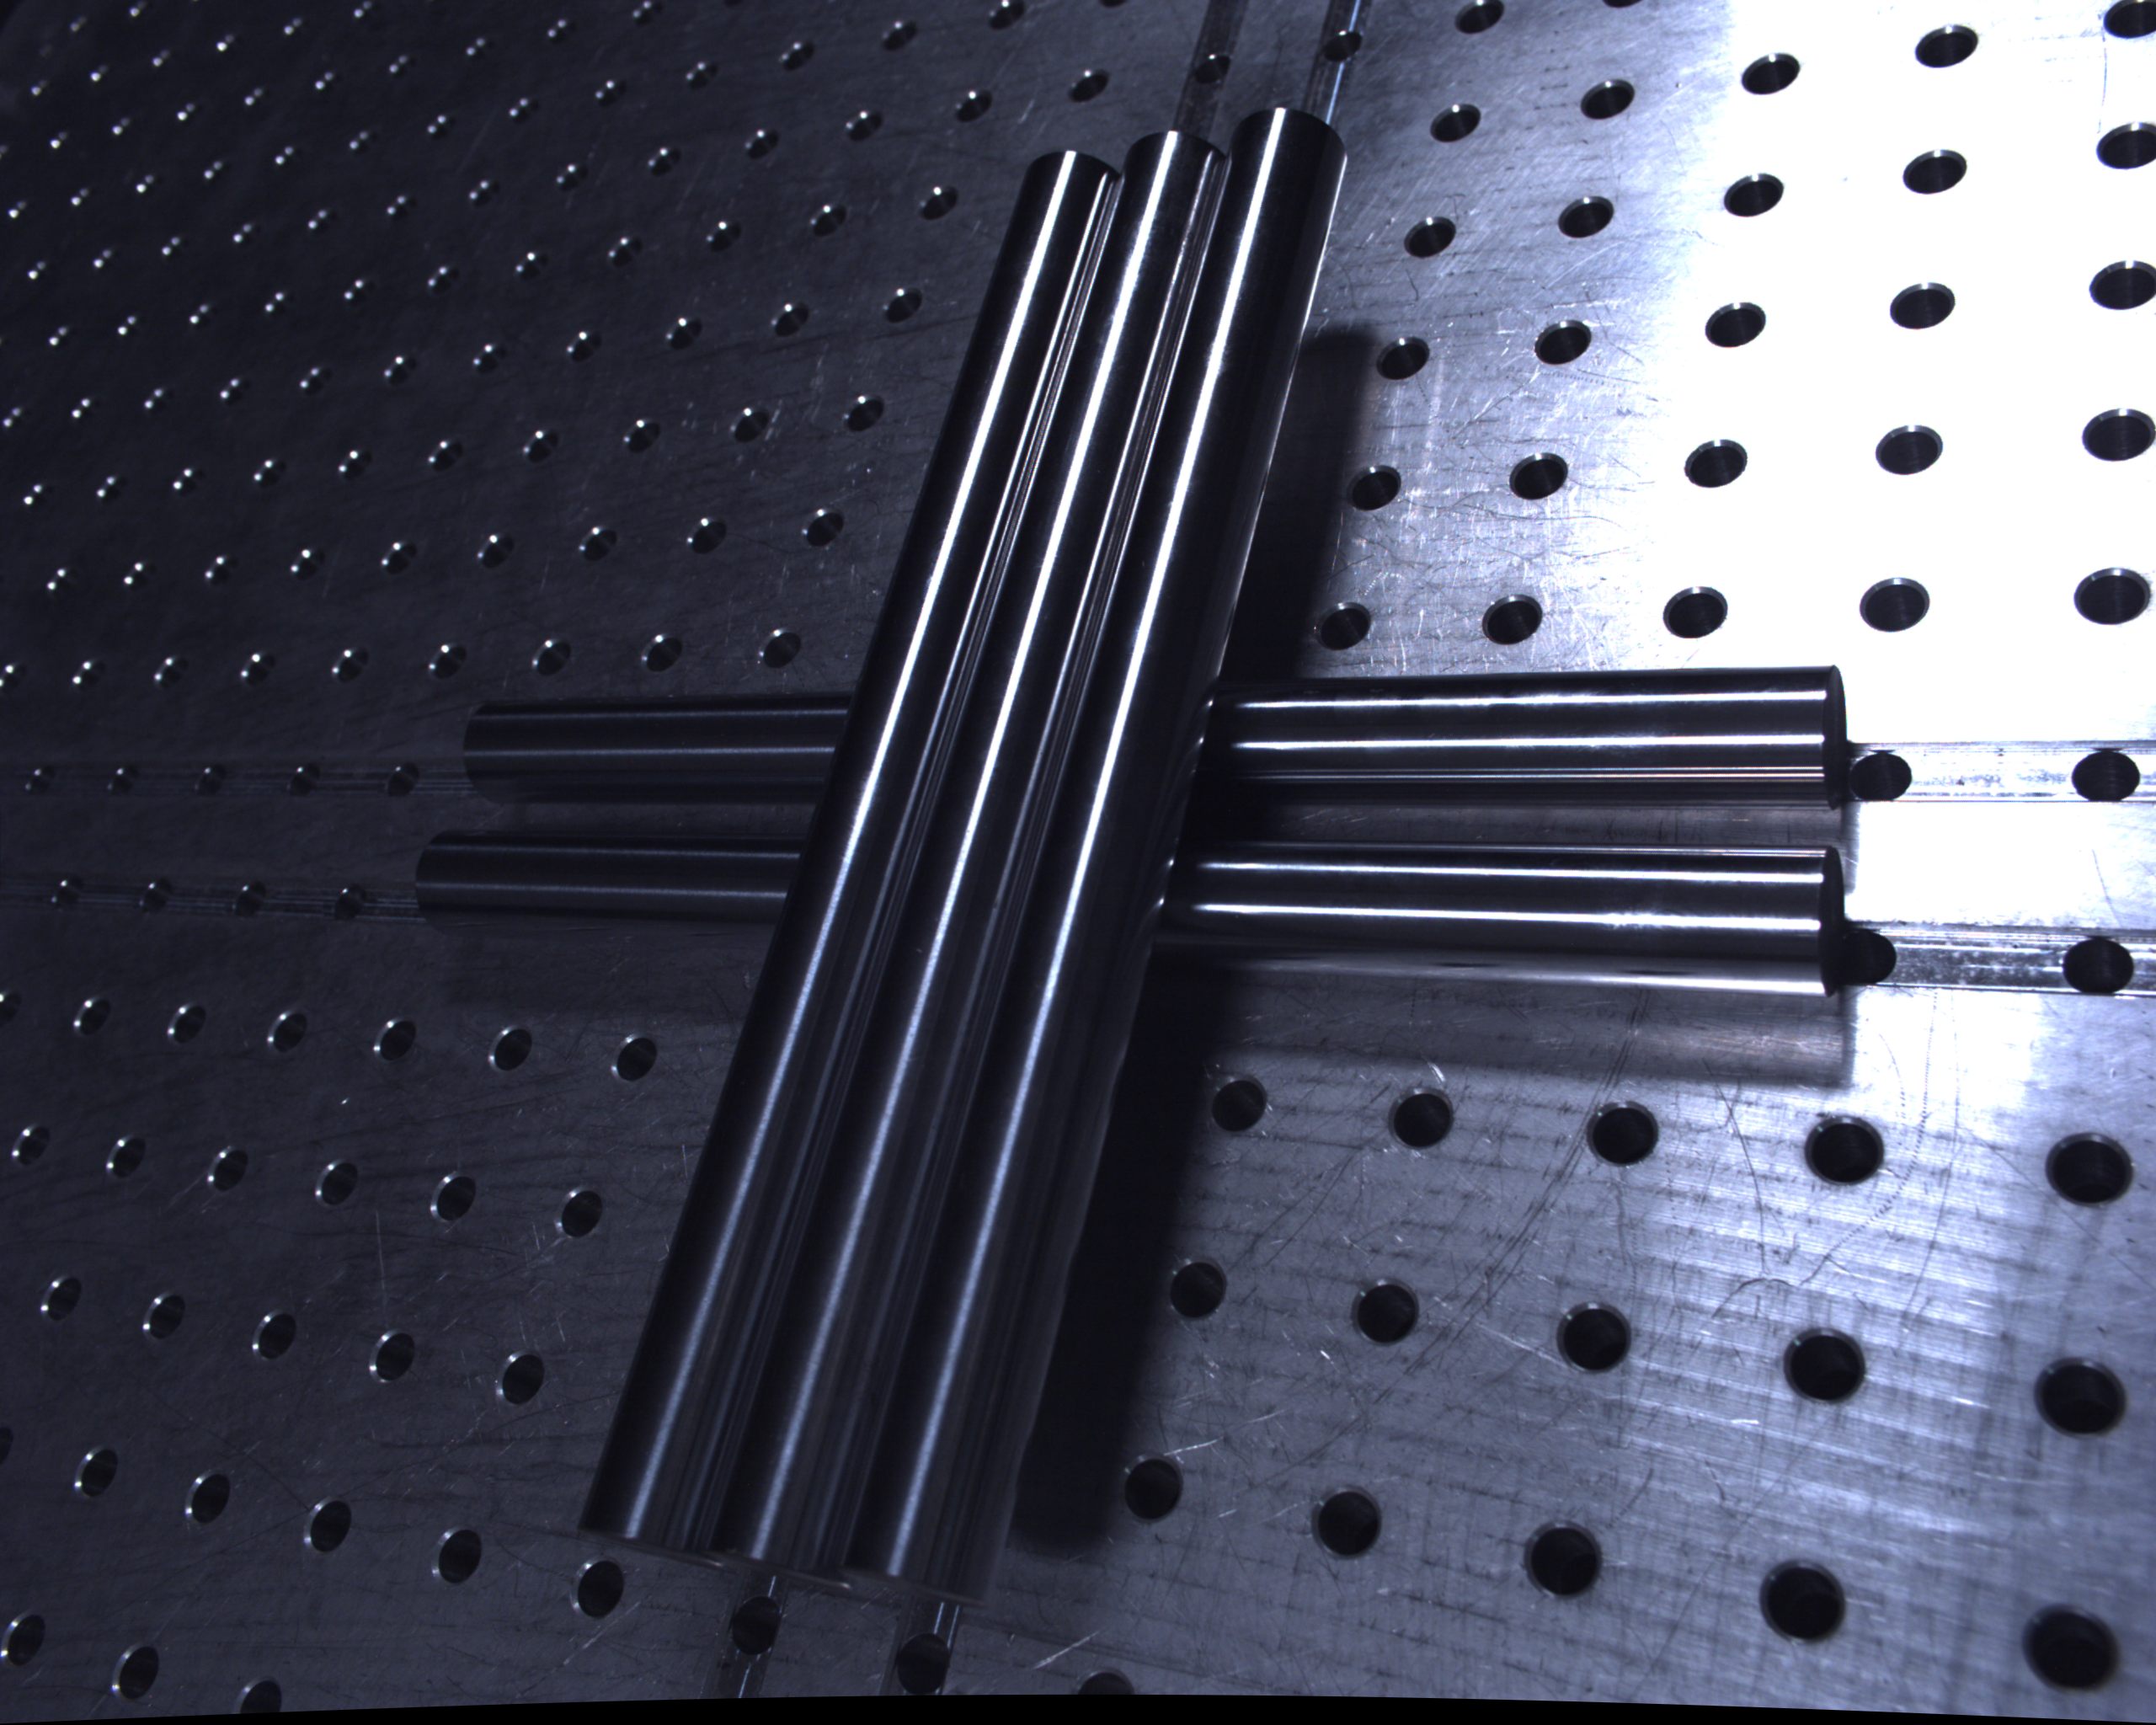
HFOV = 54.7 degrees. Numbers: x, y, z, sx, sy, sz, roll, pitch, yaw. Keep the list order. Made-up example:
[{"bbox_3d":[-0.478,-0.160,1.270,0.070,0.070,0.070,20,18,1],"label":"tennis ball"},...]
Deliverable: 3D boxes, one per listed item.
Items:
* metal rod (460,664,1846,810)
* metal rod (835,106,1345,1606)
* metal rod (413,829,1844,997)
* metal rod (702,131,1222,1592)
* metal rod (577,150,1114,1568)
[{"bbox_3d":[-0.004,-0.024,0.424,0.300,0.025,0.025,1,62,28],"label":"metal rod"},{"bbox_3d":[0.010,-0.020,0.383,0.025,0.025,0.300,1,62,28],"label":"metal rod"},{"bbox_3d":[-0.011,0.007,0.408,0.300,0.025,0.025,1,62,28],"label":"metal rod"},{"bbox_3d":[-0.013,-0.019,0.394,0.025,0.025,0.300,1,62,28],"label":"metal rod"},{"bbox_3d":[-0.035,-0.019,0.405,0.025,0.025,0.300,1,62,28],"label":"metal rod"}]
